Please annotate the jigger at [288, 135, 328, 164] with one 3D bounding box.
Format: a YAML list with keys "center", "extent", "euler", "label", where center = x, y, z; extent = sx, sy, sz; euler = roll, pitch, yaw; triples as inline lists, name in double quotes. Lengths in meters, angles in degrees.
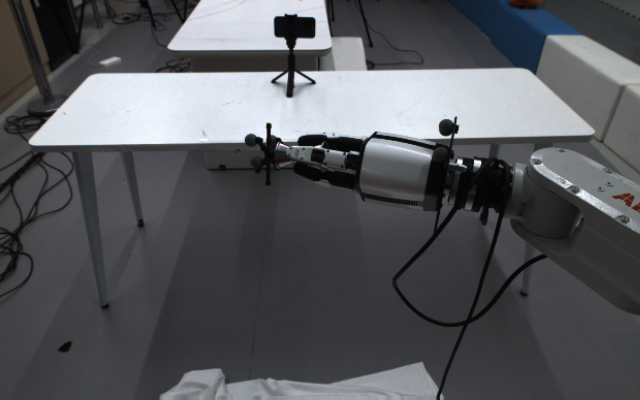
- center: [-0.017, -0.066, 0.676]
  extent: [0.071, 0.043, 0.043]
  euler: [3, 34, 17]
  label: "jigger"
